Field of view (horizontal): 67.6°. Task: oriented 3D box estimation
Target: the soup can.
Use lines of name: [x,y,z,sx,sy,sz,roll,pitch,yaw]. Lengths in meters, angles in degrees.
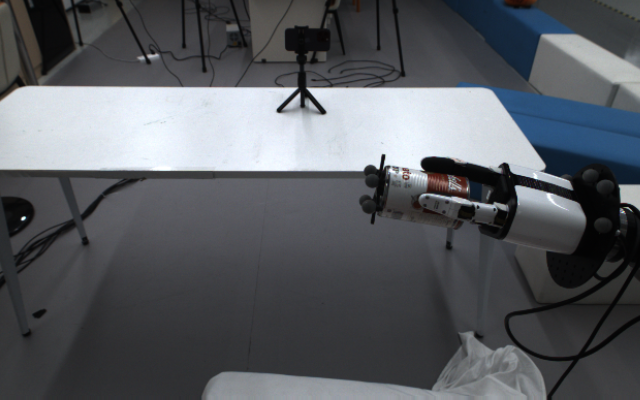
soup can: [0.130,-0.005,0.612,0.101,0.067,0.067,9,35,0]
